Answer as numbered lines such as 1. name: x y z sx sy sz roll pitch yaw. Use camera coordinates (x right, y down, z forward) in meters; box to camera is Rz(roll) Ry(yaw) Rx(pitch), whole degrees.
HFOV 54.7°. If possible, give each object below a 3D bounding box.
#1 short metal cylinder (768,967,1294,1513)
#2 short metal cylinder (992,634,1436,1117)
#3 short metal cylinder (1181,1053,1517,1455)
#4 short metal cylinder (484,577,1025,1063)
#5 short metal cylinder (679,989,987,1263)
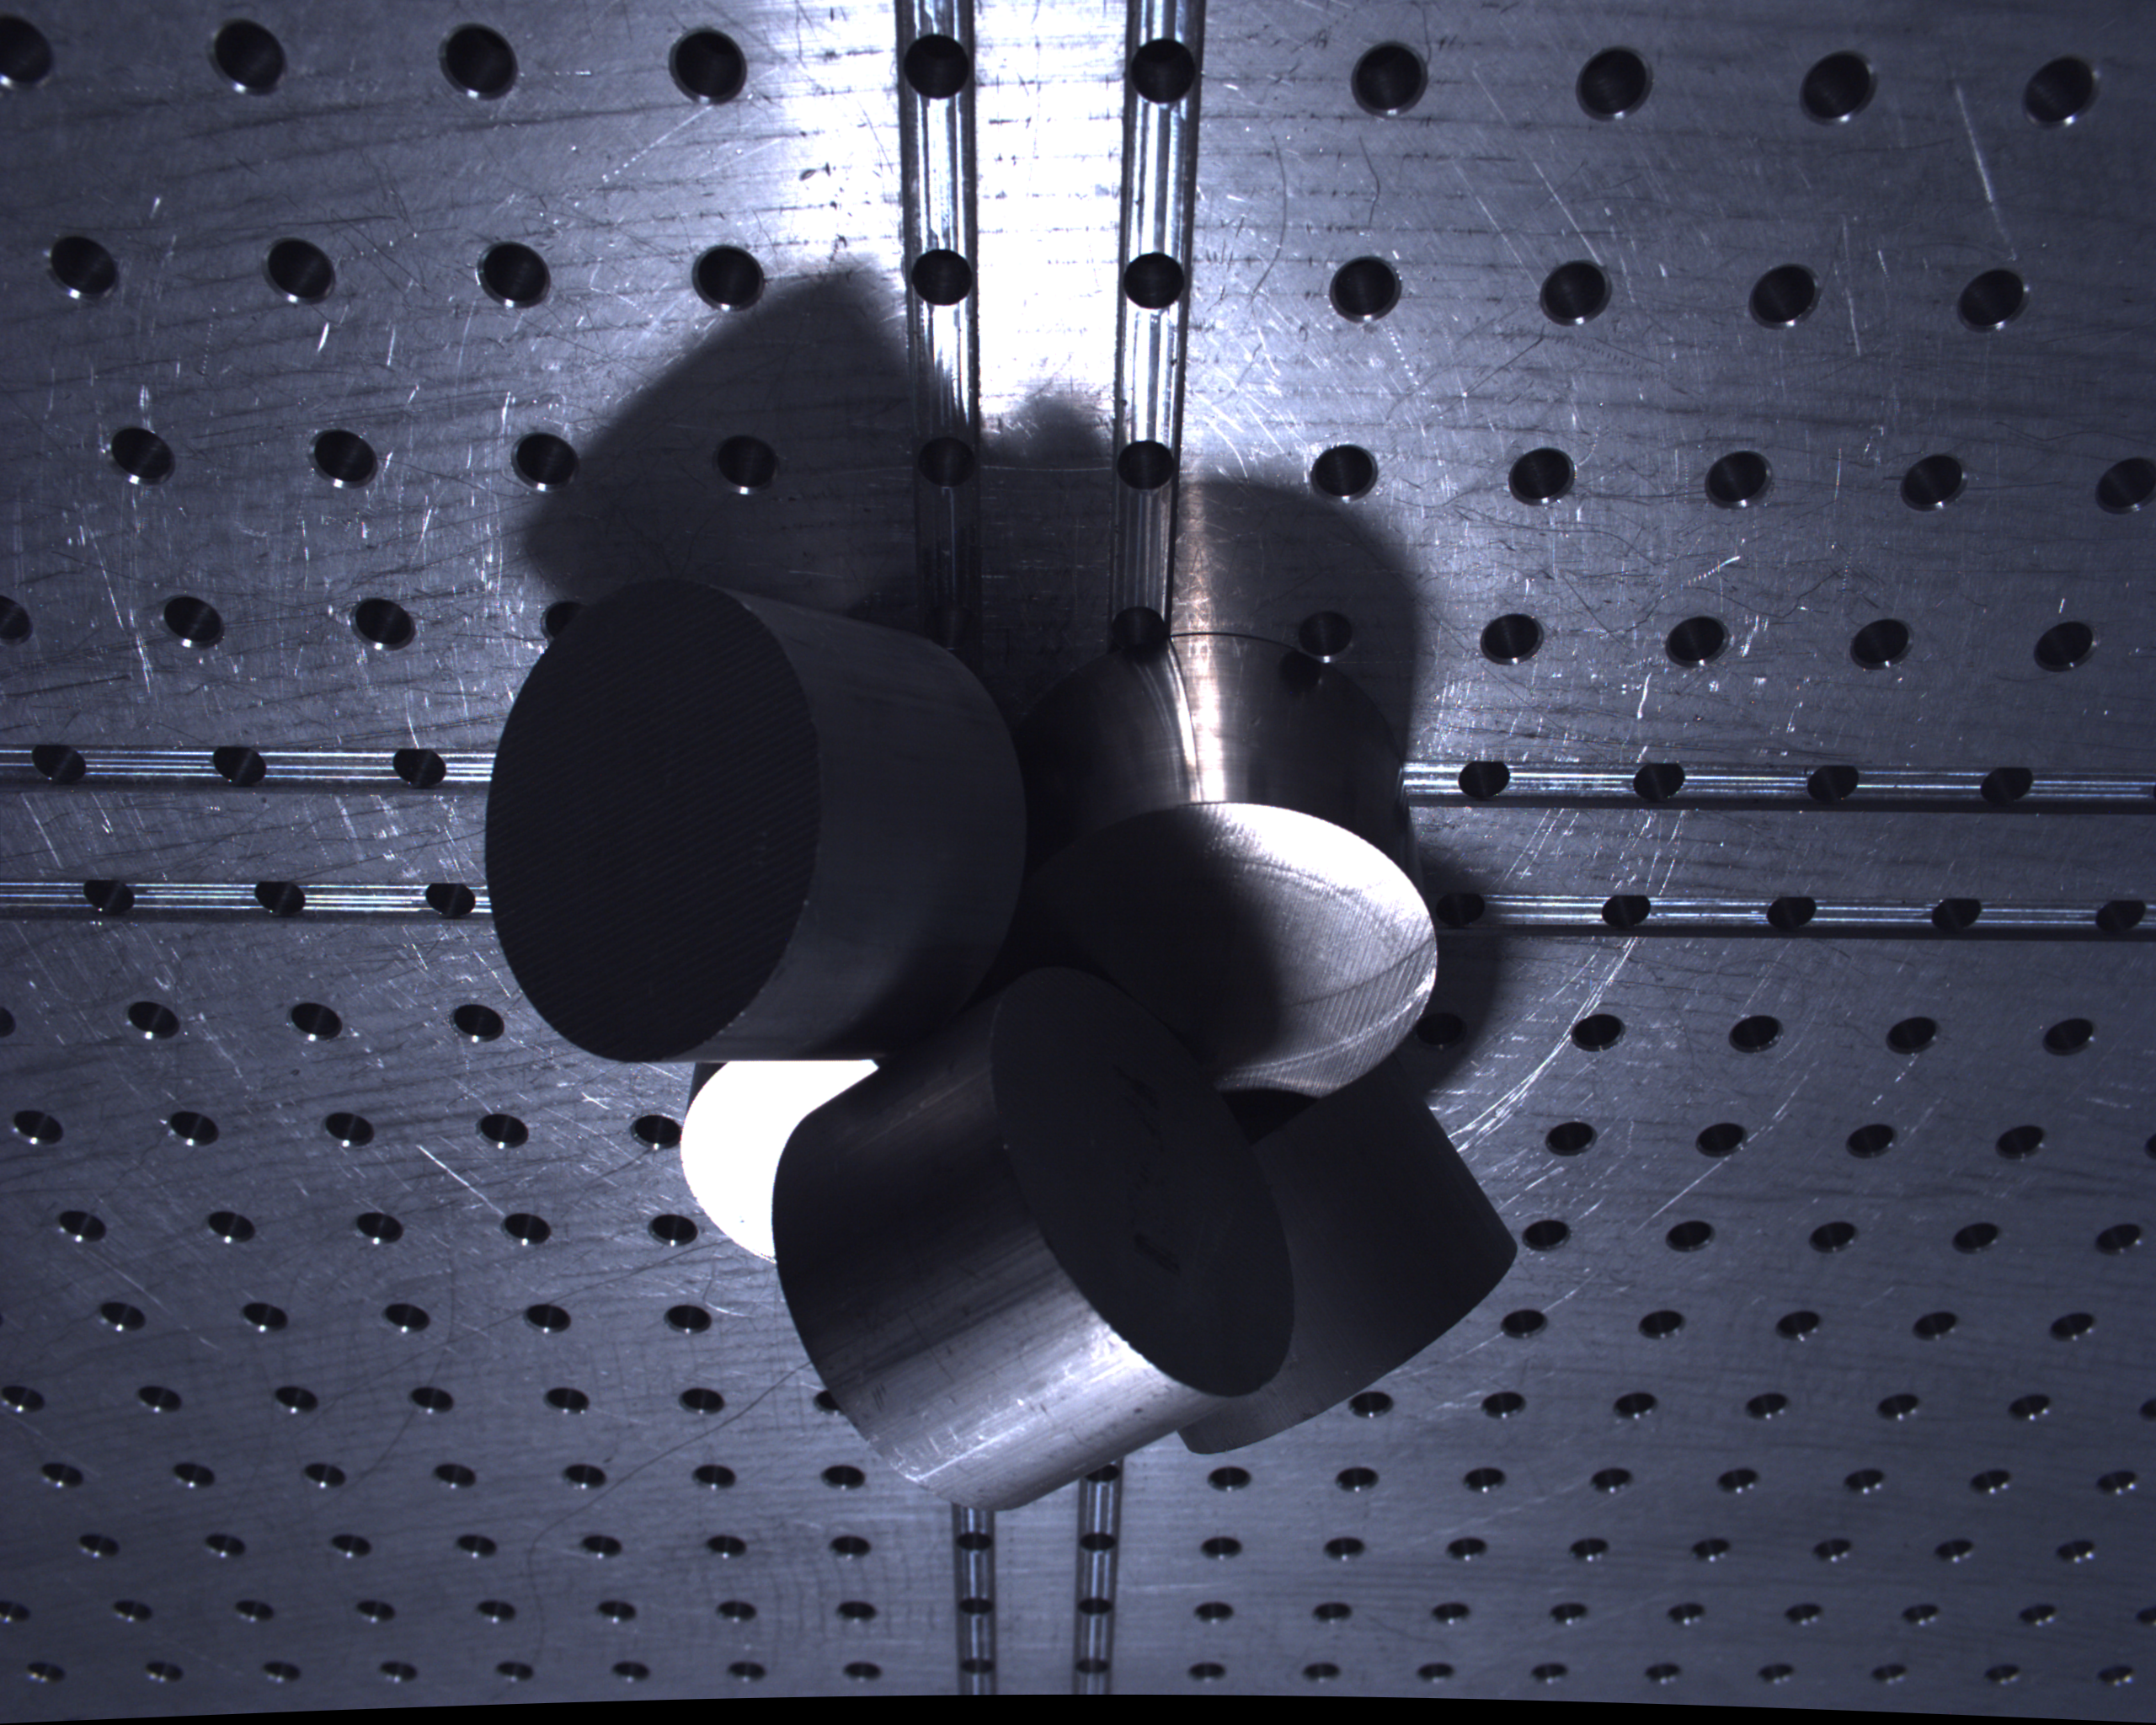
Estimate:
1. short metal cylinder: -0.007 0.065 0.363 0.050 0.080 0.080 -34 123 25
2. short metal cylinder: 0.025 0.003 0.398 0.081 0.050 0.079 0 130 0
3. short metal cylinder: 0.043 0.078 0.434 0.080 0.080 0.050 -33 88 24
4. short metal cylinder: -0.056 -0.005 0.361 0.080 0.080 0.050 -38 155 27
5. short metal cylinder: -0.038 0.043 0.431 0.081 0.050 0.079 0 130 0
